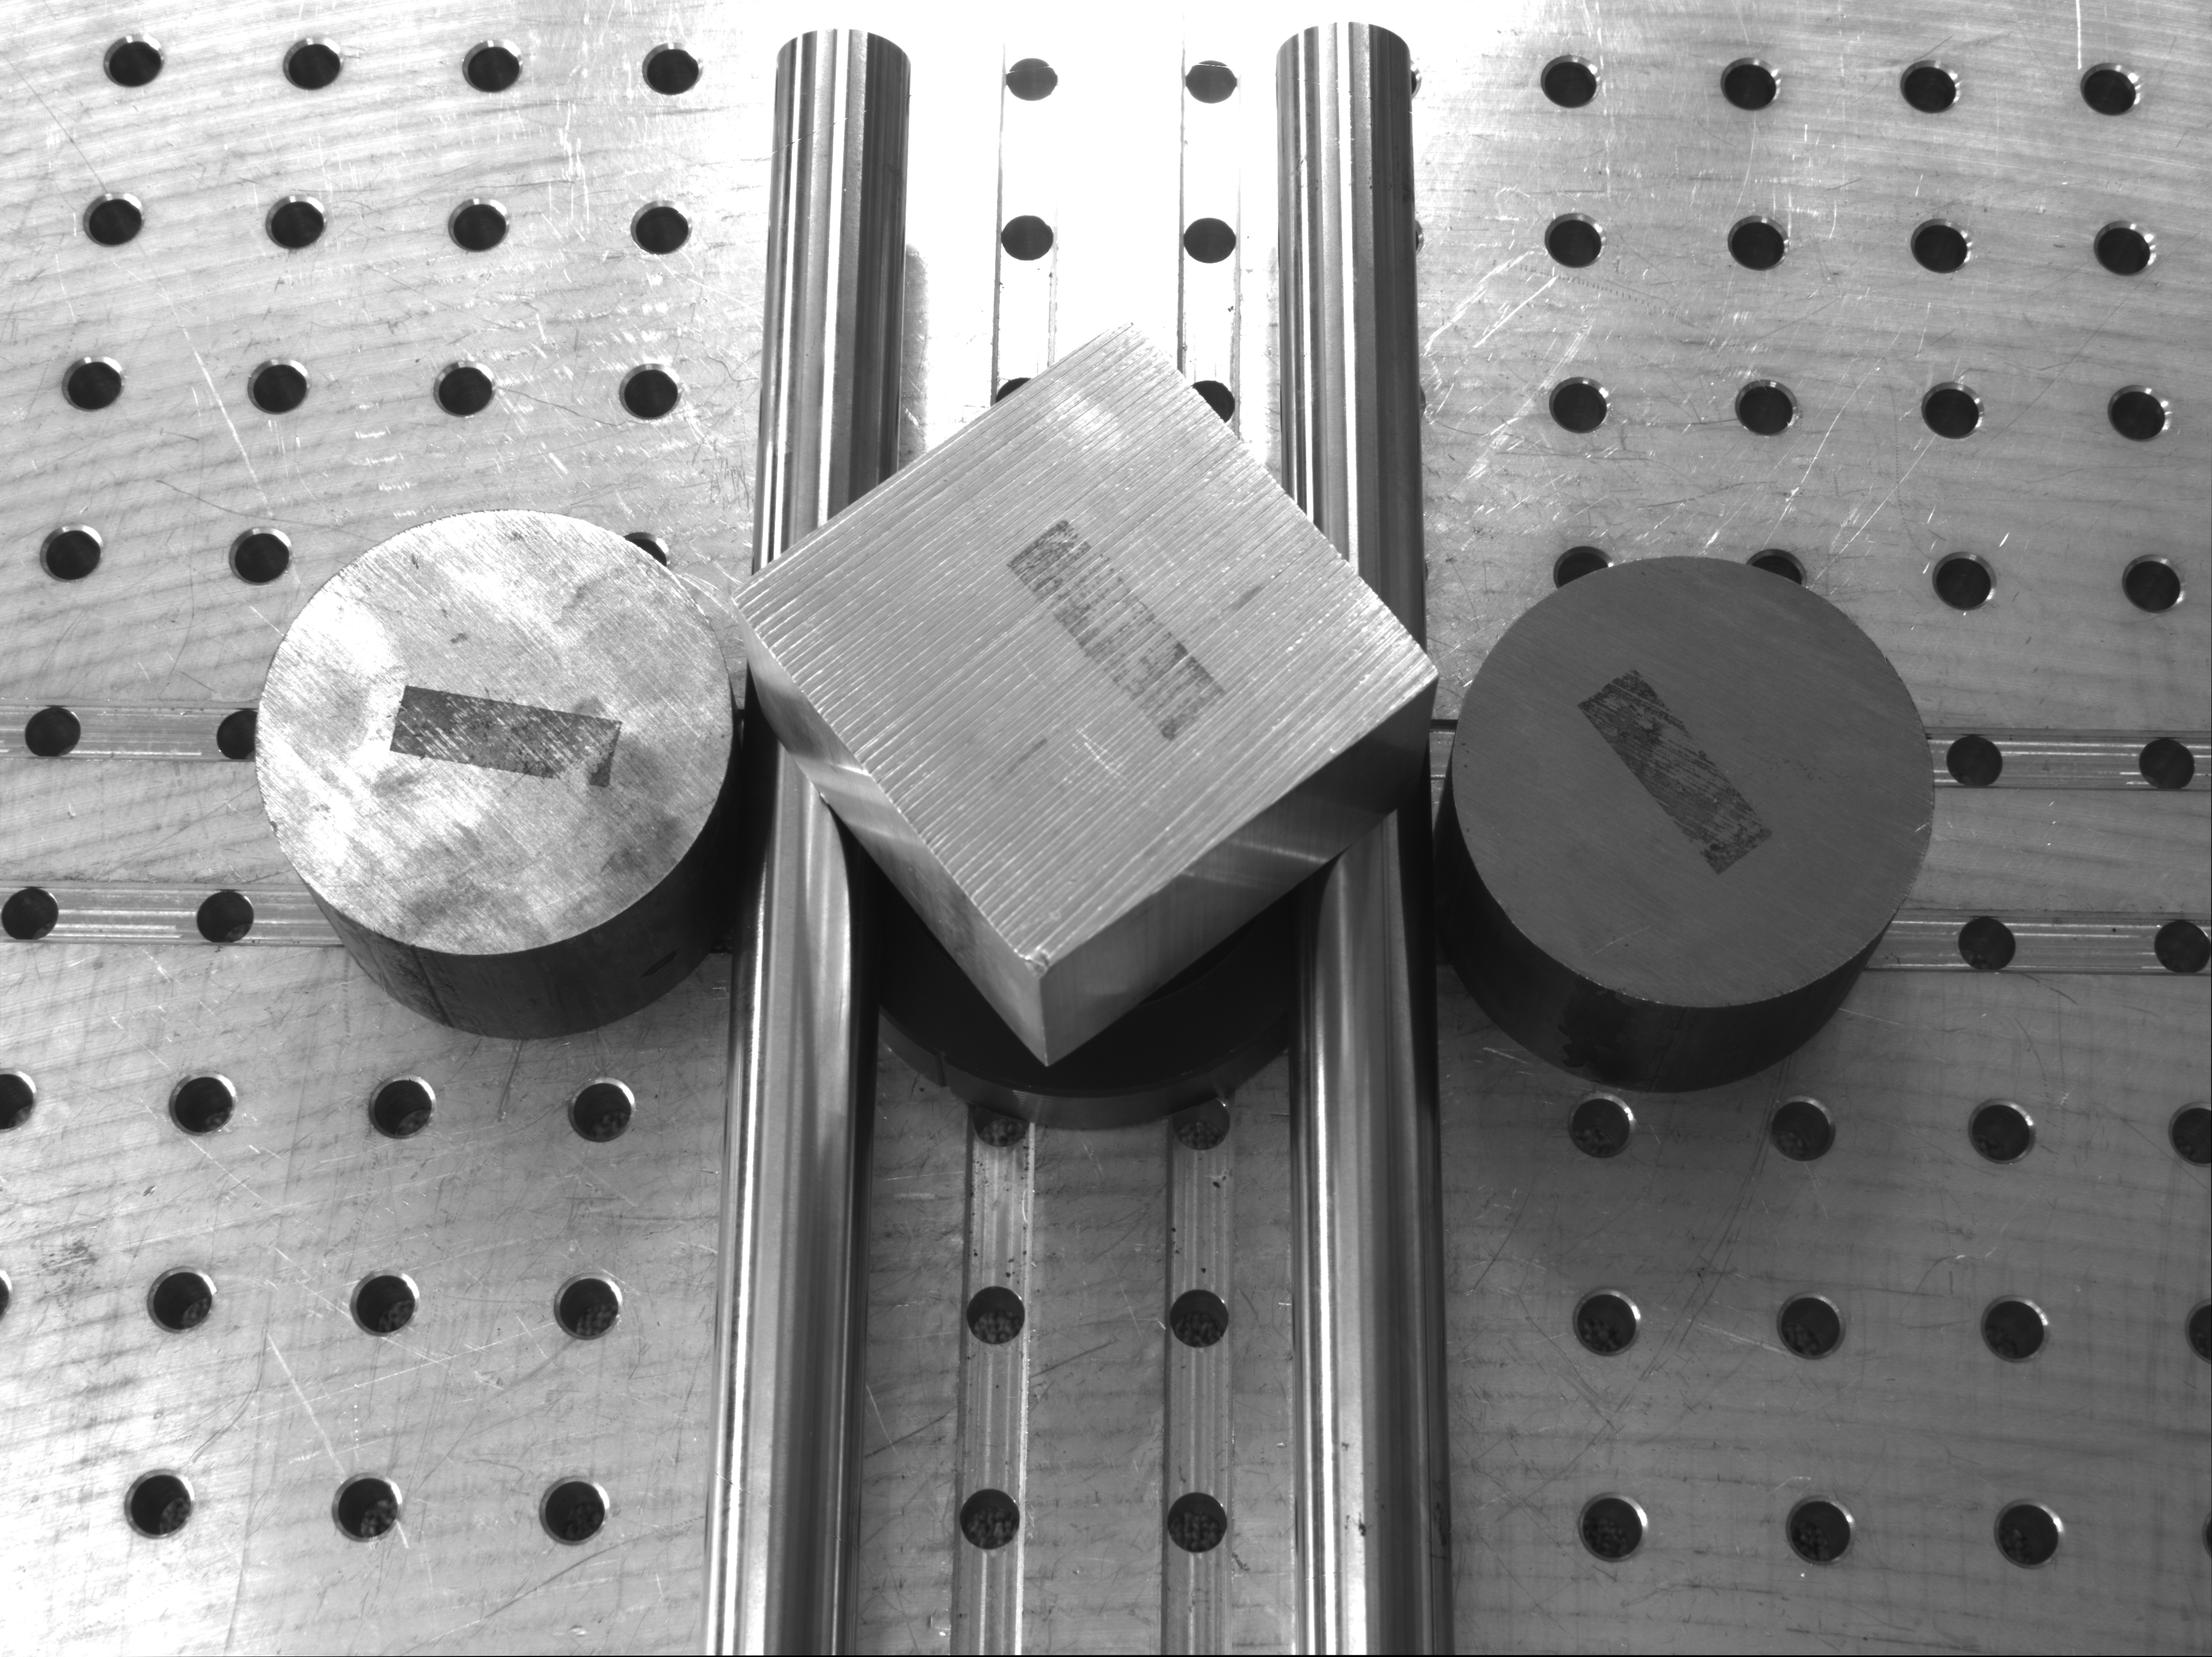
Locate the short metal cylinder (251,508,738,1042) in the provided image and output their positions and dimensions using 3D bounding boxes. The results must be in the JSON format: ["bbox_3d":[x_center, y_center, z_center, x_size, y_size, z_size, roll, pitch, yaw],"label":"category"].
[{"bbox_3d":[-0.103,-0.009,0.637,0.080,0.050,0.080,0,70,0],"label":"short metal cylinder"}]

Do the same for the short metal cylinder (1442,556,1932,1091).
[{"bbox_3d":[0.097,0.000,0.633,0.080,0.050,0.080,0,70,0],"label":"short metal cylinder"}]

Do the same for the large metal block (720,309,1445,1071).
[{"bbox_3d":[-0.004,-0.022,0.592,0.080,0.050,0.080,-36,74,-12],"label":"large metal block"}]

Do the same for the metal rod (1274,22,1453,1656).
[{"bbox_3d":[0.043,-0.001,0.625,0.025,0.025,0.300,0,70,0],"label":"metal rod"}]

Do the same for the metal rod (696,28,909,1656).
[{"bbox_3d":[-0.050,0.000,0.625,0.025,0.025,0.300,1,70,0],"label":"metal rod"}]

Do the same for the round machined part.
[{"bbox_3d":[-0.004,0.000,0.639,0.098,0.042,0.098,0,70,0],"label":"round machined part"}]
